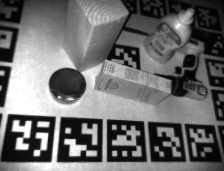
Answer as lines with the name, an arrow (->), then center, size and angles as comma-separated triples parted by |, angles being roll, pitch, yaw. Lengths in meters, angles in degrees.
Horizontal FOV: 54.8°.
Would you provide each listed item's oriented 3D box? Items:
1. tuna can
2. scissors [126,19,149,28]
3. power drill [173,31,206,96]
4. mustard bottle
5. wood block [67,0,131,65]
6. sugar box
tuna can -> -0.105, -0.018, 0.535 | 0.086, 0.033, 0.085 | 6, 71, -16
scissors -> 0.016, -0.196, 0.646 | 0.204, 0.016, 0.087 | 9, 65, -14
power drill -> 0.198, -0.076, 0.638 | 0.185, 0.057, 0.187 | 19, 74, -9
mustard bottle -> 0.168, -0.148, 0.590 | 0.059, 0.191, 0.096 | -36, 84, -23
wood block -> -0.043, -0.139, 0.515 | 0.091, 0.205, 0.089 | -23, 79, -21
sugar box -> 0.062, -0.015, 0.558 | 0.177, 0.092, 0.045 | 18, 64, -12
